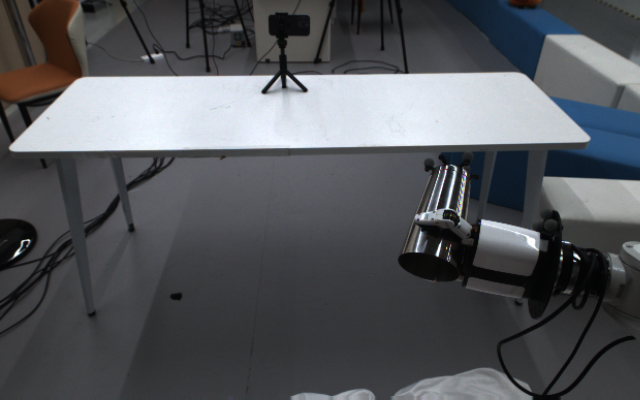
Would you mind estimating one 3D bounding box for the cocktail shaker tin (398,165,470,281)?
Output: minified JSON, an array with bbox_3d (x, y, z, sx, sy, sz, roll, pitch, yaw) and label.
[{"bbox_3d":[0.187,0.031,0.756,0.093,0.093,0.170,13,61,16],"label":"cocktail shaker tin"}]
